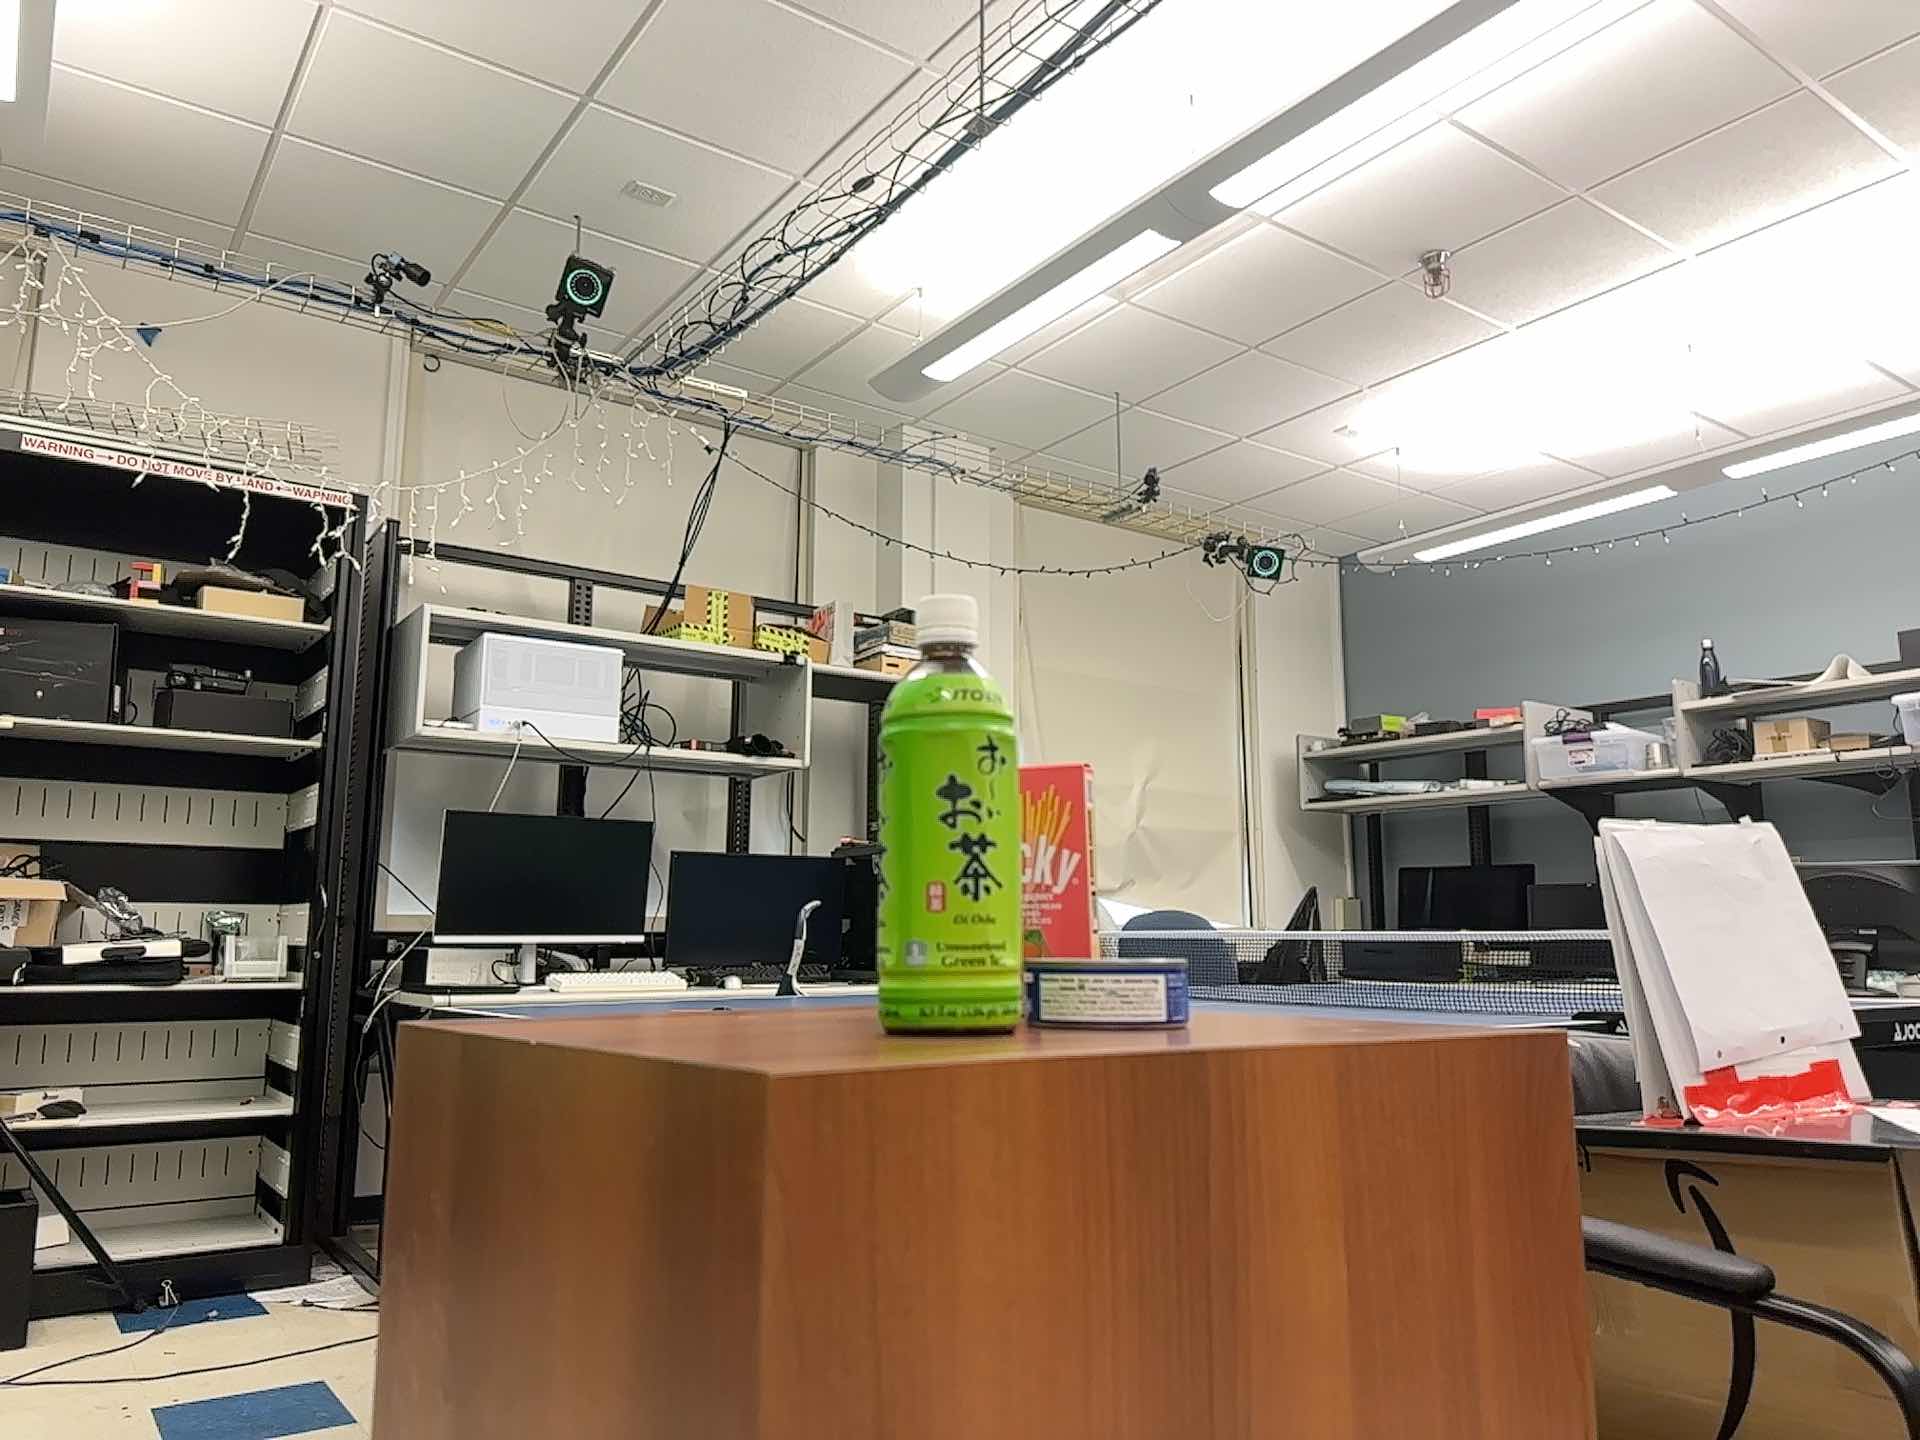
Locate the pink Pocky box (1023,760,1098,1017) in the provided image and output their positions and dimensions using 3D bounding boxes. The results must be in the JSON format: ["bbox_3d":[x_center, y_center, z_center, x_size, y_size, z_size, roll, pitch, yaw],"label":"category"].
[{"bbox_3d":[0.040,0.103,0.828,0.084,0.155,0.029,-3,-7,19],"label":"pink Pocky box"}]

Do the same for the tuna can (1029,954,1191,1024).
[{"bbox_3d":[0.078,0.141,0.707,0.083,0.034,0.083,-1,-11,0],"label":"tuna can"}]

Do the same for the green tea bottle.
[{"bbox_3d":[-0.003,0.045,0.655,0.073,0.212,0.073,-2,-10,0],"label":"green tea bottle"}]
